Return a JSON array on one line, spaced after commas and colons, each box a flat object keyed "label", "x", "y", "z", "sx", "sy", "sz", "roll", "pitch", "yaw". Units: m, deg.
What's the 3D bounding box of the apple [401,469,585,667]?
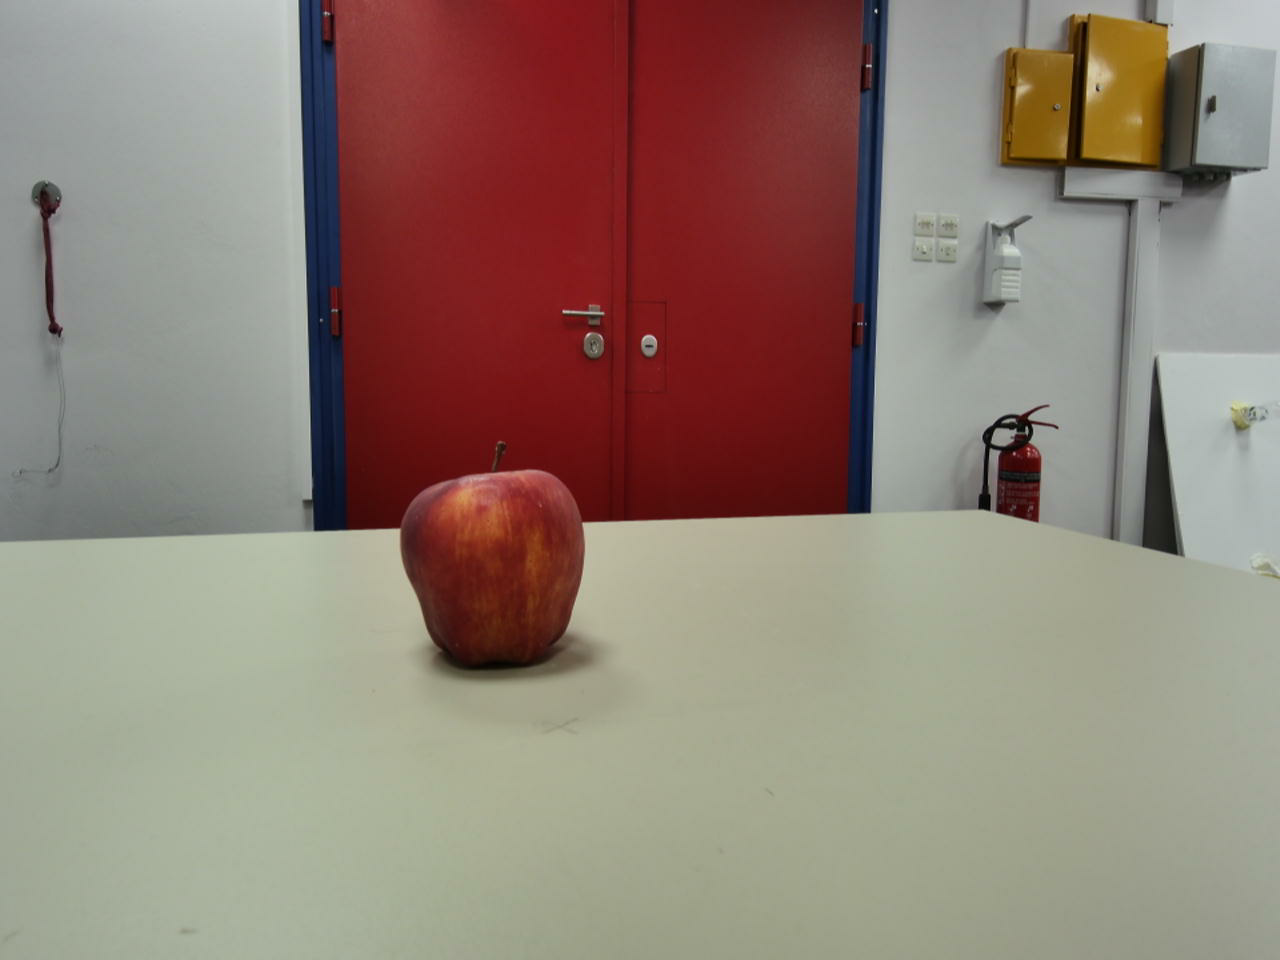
[{"label": "apple", "x": -0.063, "y": 0.030, "z": 0.421, "sx": 0.083, "sy": 0.090, "sz": 0.083, "roll": 1, "pitch": 4, "yaw": 0}]
